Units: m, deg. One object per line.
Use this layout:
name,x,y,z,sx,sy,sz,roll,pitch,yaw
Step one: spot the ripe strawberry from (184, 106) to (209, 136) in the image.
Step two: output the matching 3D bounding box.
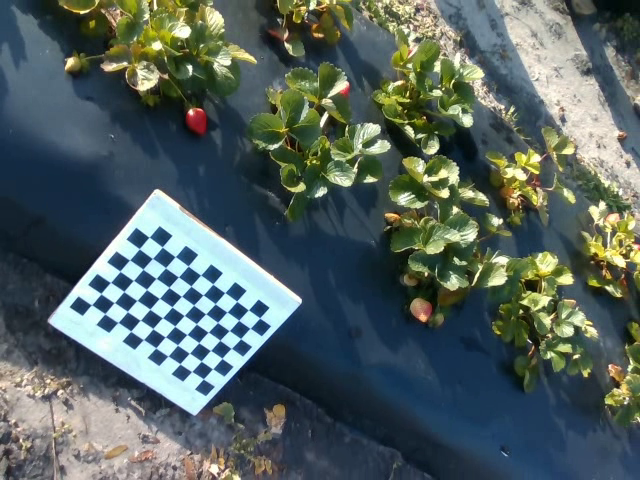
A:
ripe strawberry,-0.169,-0.163,0.813,0.030,0.045,0.033,-19,-11,4
